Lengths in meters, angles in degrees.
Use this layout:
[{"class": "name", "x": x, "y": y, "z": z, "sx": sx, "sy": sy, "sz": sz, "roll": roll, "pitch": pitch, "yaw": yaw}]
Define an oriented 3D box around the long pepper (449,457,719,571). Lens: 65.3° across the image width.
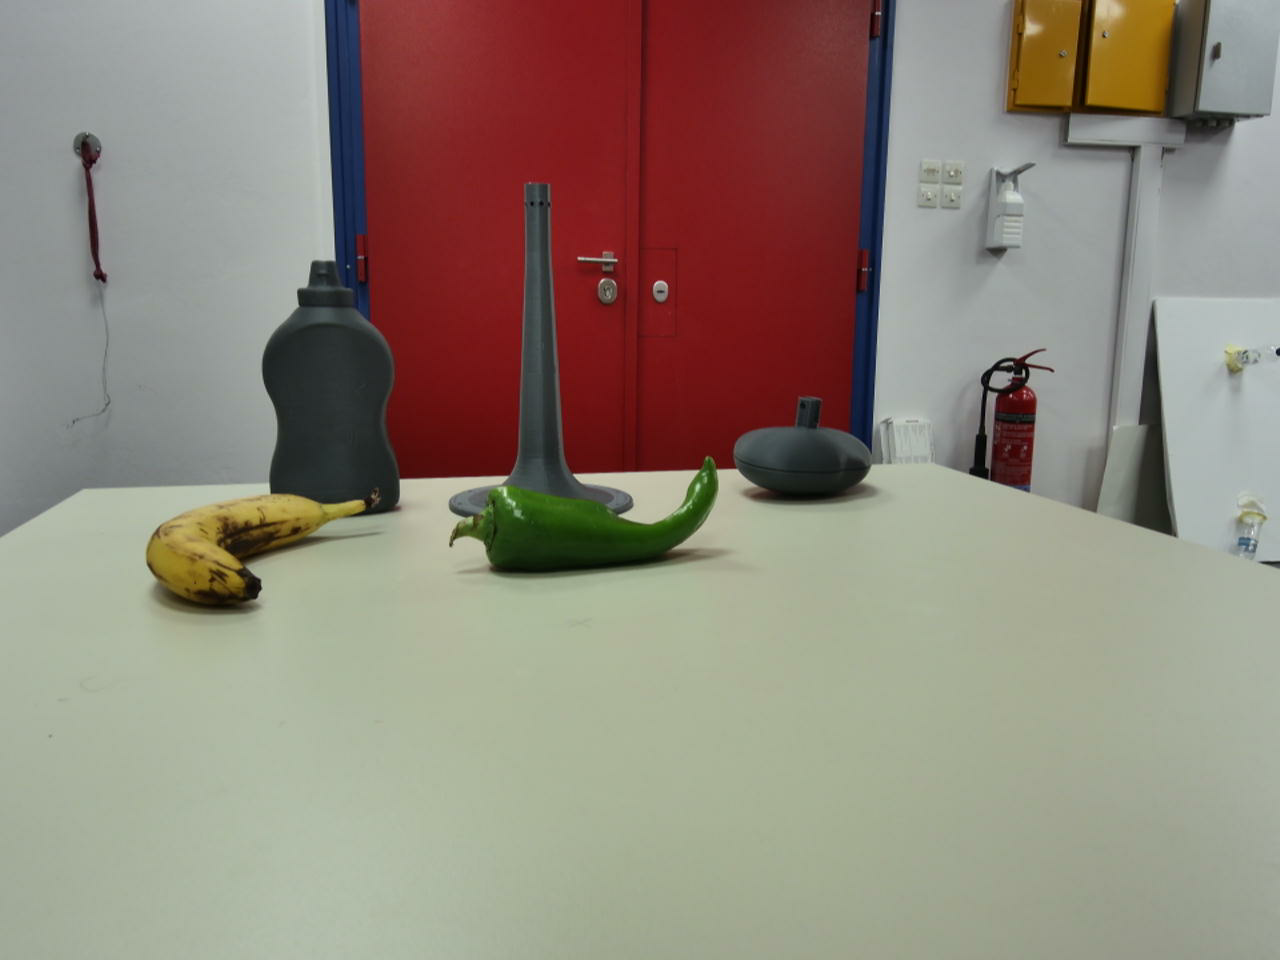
[{"class": "long pepper", "x": -0.031, "y": 0.021, "z": 0.627, "sx": 0.175, "sy": 0.065, "sz": 0.058, "roll": -2, "pitch": 8, "yaw": -14}]
